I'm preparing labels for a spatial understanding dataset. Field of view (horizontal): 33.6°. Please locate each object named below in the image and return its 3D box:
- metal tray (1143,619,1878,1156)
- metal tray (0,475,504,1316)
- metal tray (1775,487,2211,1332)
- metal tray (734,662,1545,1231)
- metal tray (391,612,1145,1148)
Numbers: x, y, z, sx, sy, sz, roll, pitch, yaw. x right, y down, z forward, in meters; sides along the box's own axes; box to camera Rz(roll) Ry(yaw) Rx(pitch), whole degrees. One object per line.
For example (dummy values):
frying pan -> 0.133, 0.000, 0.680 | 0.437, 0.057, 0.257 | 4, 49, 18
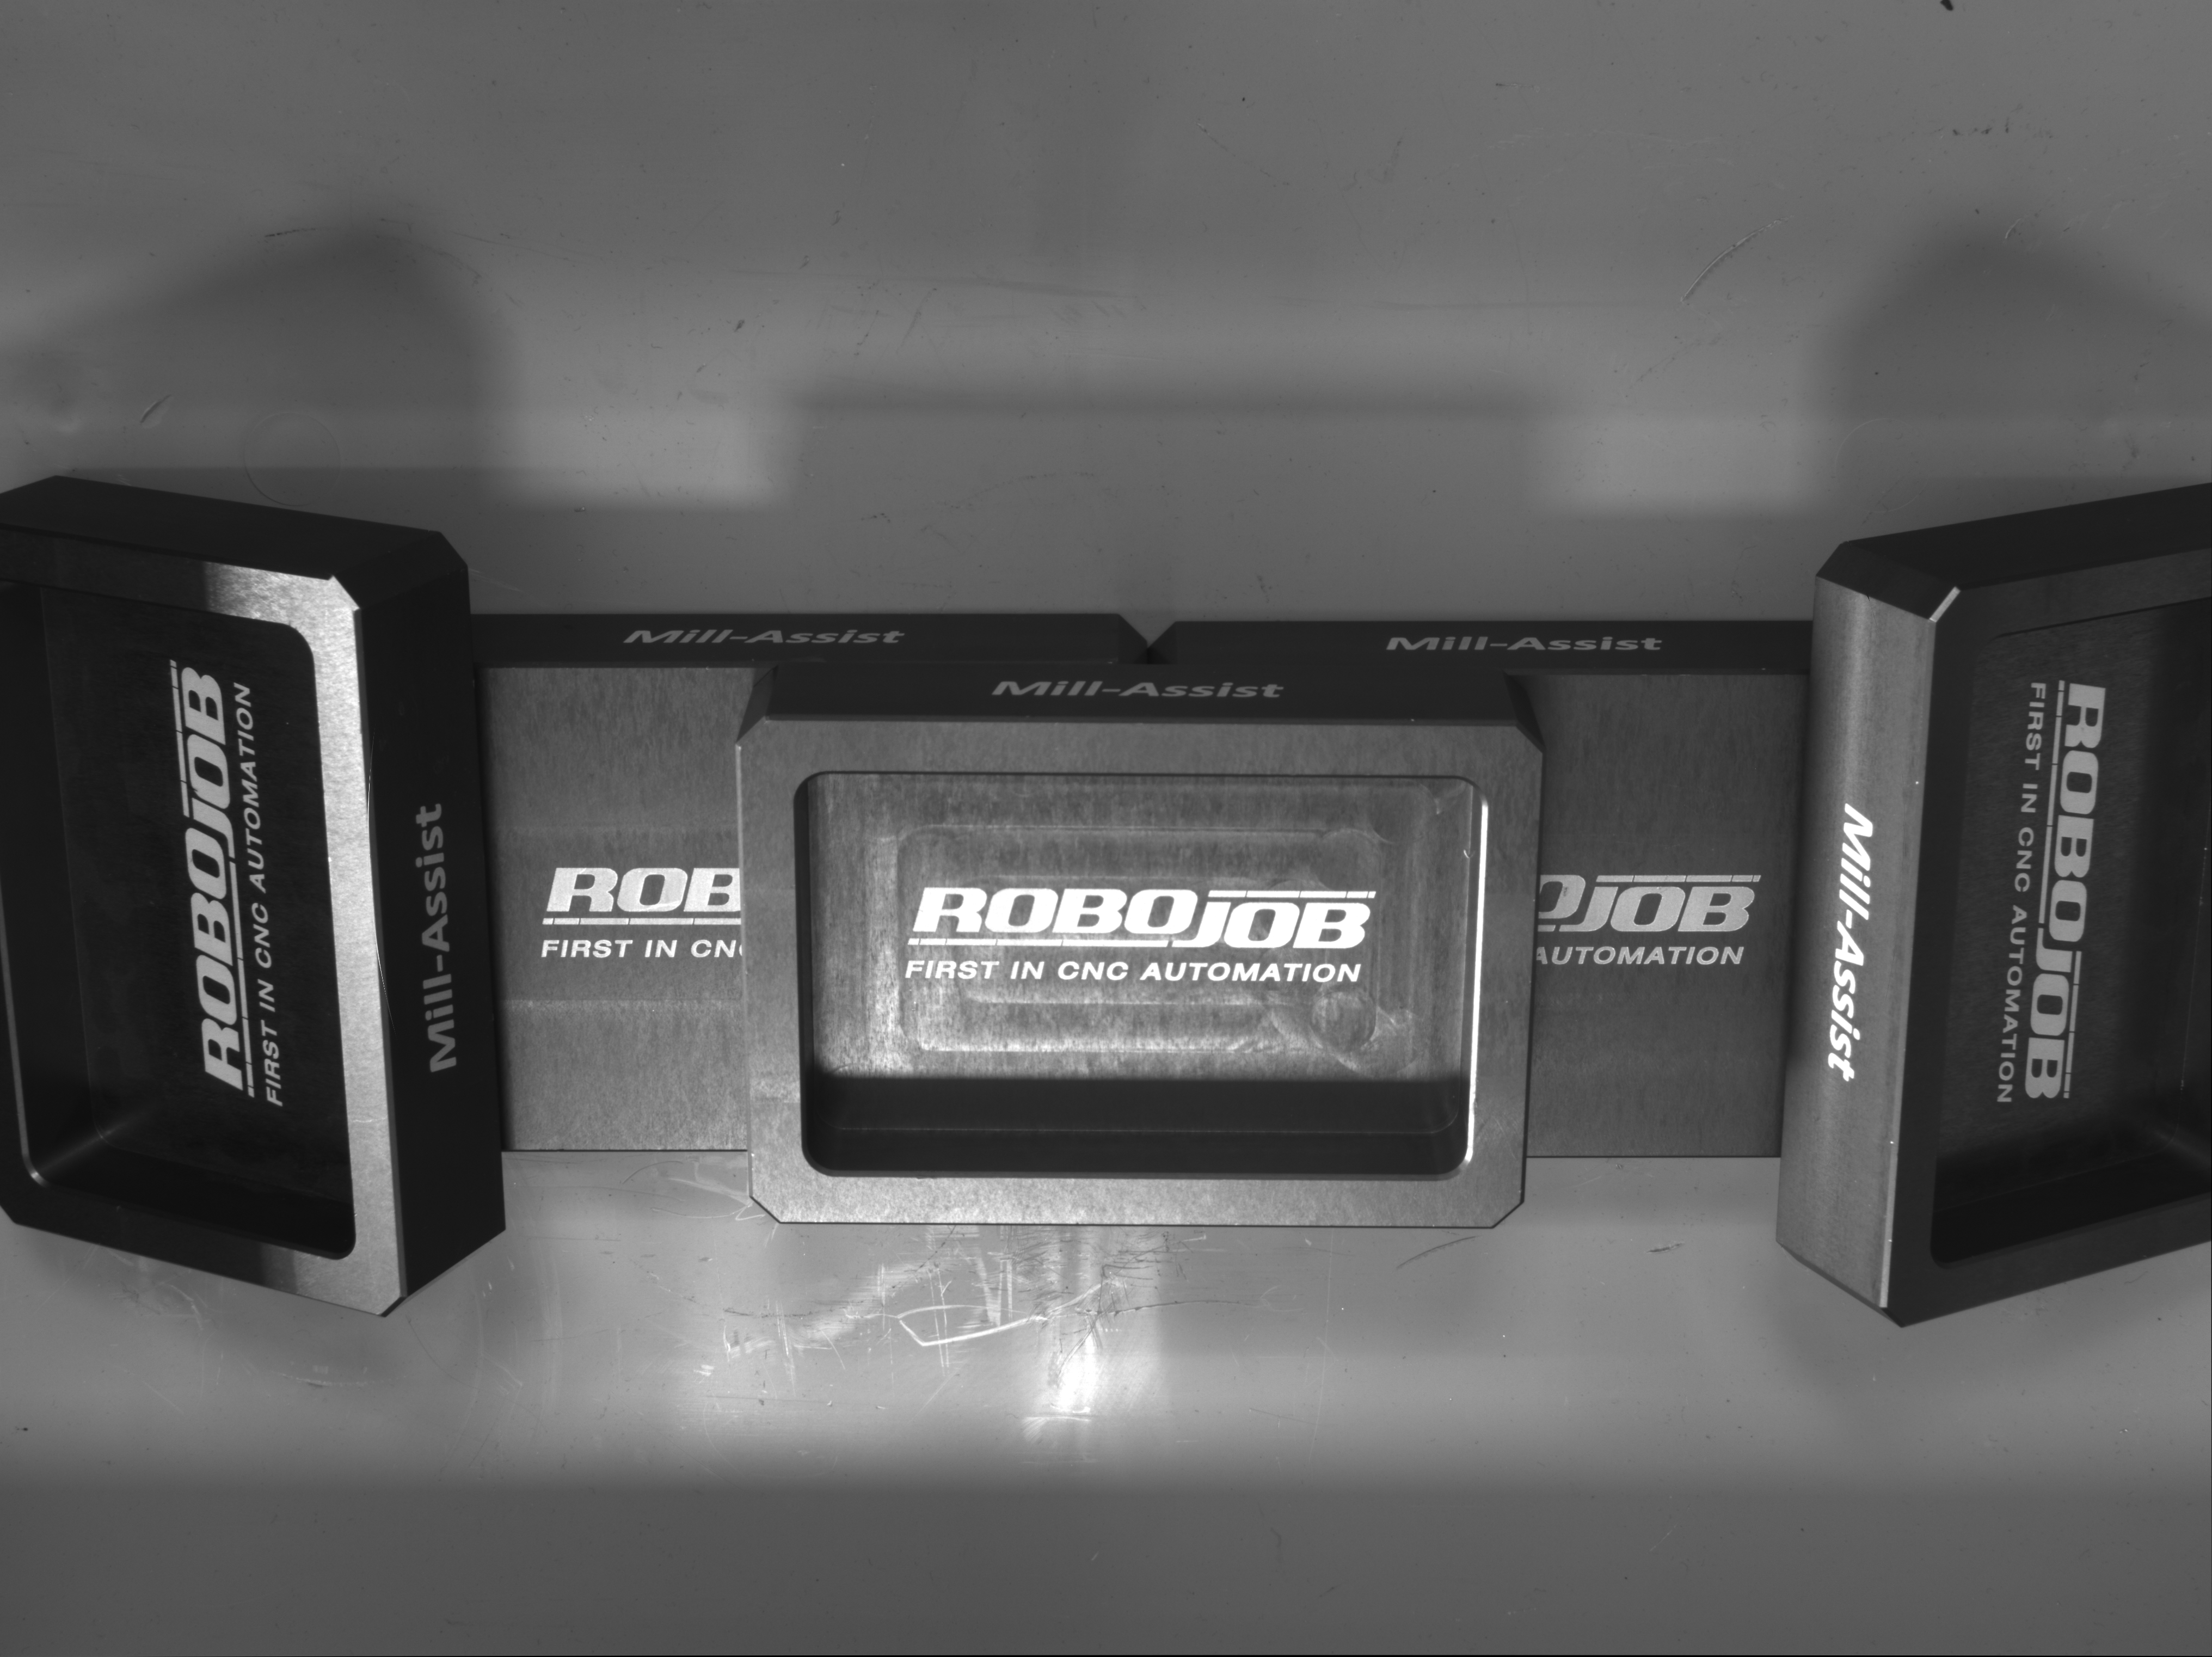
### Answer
metal tray -> 0.072, 0.011, 0.644 | 0.130, 0.030, 0.090 | 0, 110, 0
metal tray -> -0.151, 0.011, 0.624 | 0.090, 0.030, 0.130 | 10, 112, 24
metal tray -> 0.162, 0.013, 0.624 | 0.090, 0.030, 0.130 | -10, 112, -26
metal tray -> 0.005, 0.020, 0.615 | 0.130, 0.030, 0.090 | 1, 109, 0
metal tray -> -0.058, 0.009, 0.644 | 0.130, 0.030, 0.090 | 0, 110, 0
